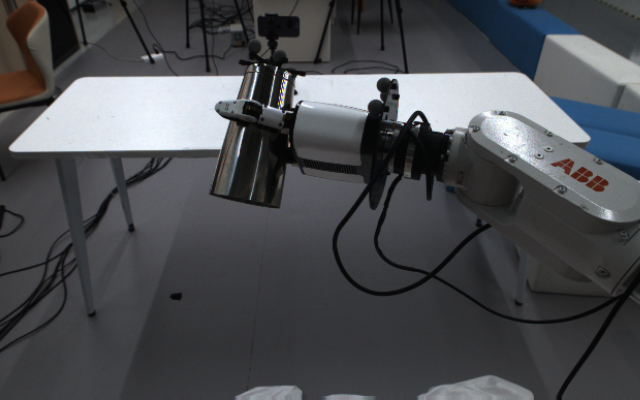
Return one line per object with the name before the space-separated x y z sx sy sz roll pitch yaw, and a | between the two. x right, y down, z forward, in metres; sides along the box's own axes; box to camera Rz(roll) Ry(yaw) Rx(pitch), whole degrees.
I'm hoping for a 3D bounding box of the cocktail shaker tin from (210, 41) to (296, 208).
cocktail shaker tin | -0.079 -0.081 0.621 0.093 0.170 0.093 11 -5 1
